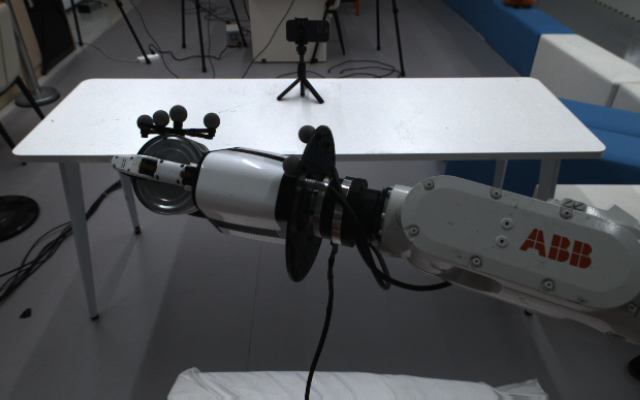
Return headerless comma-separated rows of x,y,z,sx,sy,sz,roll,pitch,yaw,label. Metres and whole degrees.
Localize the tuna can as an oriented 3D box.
-0.154,-0.026,0.523,0.085,0.085,0.034,12,-1,13,tuna can
